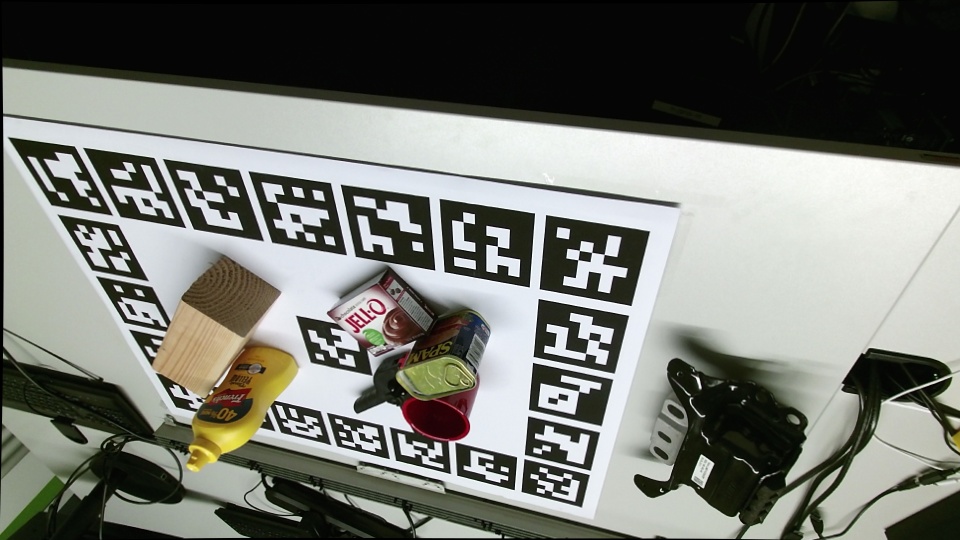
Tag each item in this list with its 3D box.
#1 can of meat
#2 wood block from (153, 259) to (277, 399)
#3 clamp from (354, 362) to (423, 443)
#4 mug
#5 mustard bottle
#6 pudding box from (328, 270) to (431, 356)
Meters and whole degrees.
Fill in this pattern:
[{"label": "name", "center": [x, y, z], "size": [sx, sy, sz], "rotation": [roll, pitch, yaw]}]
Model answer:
[{"label": "can of meat", "center": [-0.043, 0.108, 0.650], "size": [0.102, 0.083, 0.058], "rotation": [-19, 117, 29]}, {"label": "wood block", "center": [-0.379, 0.090, 0.755], "size": [0.090, 0.090, 0.206], "rotation": [36, 131, -13]}, {"label": "clamp", "center": [-0.123, 0.192, 0.785], "size": [0.122, 0.036, 0.165], "rotation": [24, 128, 1]}, {"label": "mug", "center": [-0.045, 0.175, 0.740], "size": [0.093, 0.081, 0.117], "rotation": [26, 128, -2]}, {"label": "mustard bottle", "center": [-0.352, 0.211, 0.767], "size": [0.096, 0.191, 0.058], "rotation": [4, 127, 15]}, {"label": "pudding box", "center": [-0.131, 0.060, 0.679], "size": [0.114, 0.038, 0.090], "rotation": [-28, 113, 35]}]
